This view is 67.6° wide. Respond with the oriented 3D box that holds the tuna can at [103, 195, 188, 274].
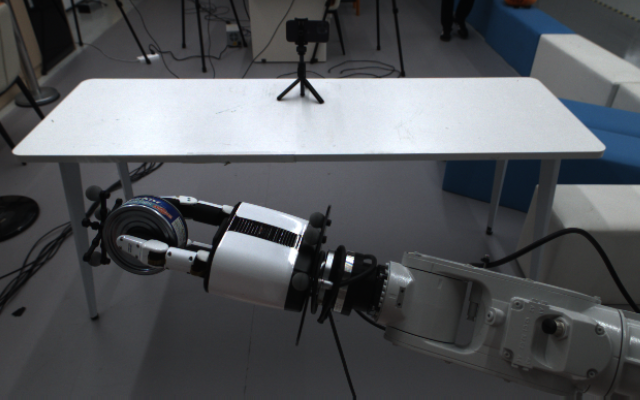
[{"bbox_3d":[-0.191,0.040,0.537,0.085,0.085,0.034,4,19,3],"label":"tuna can"}]
